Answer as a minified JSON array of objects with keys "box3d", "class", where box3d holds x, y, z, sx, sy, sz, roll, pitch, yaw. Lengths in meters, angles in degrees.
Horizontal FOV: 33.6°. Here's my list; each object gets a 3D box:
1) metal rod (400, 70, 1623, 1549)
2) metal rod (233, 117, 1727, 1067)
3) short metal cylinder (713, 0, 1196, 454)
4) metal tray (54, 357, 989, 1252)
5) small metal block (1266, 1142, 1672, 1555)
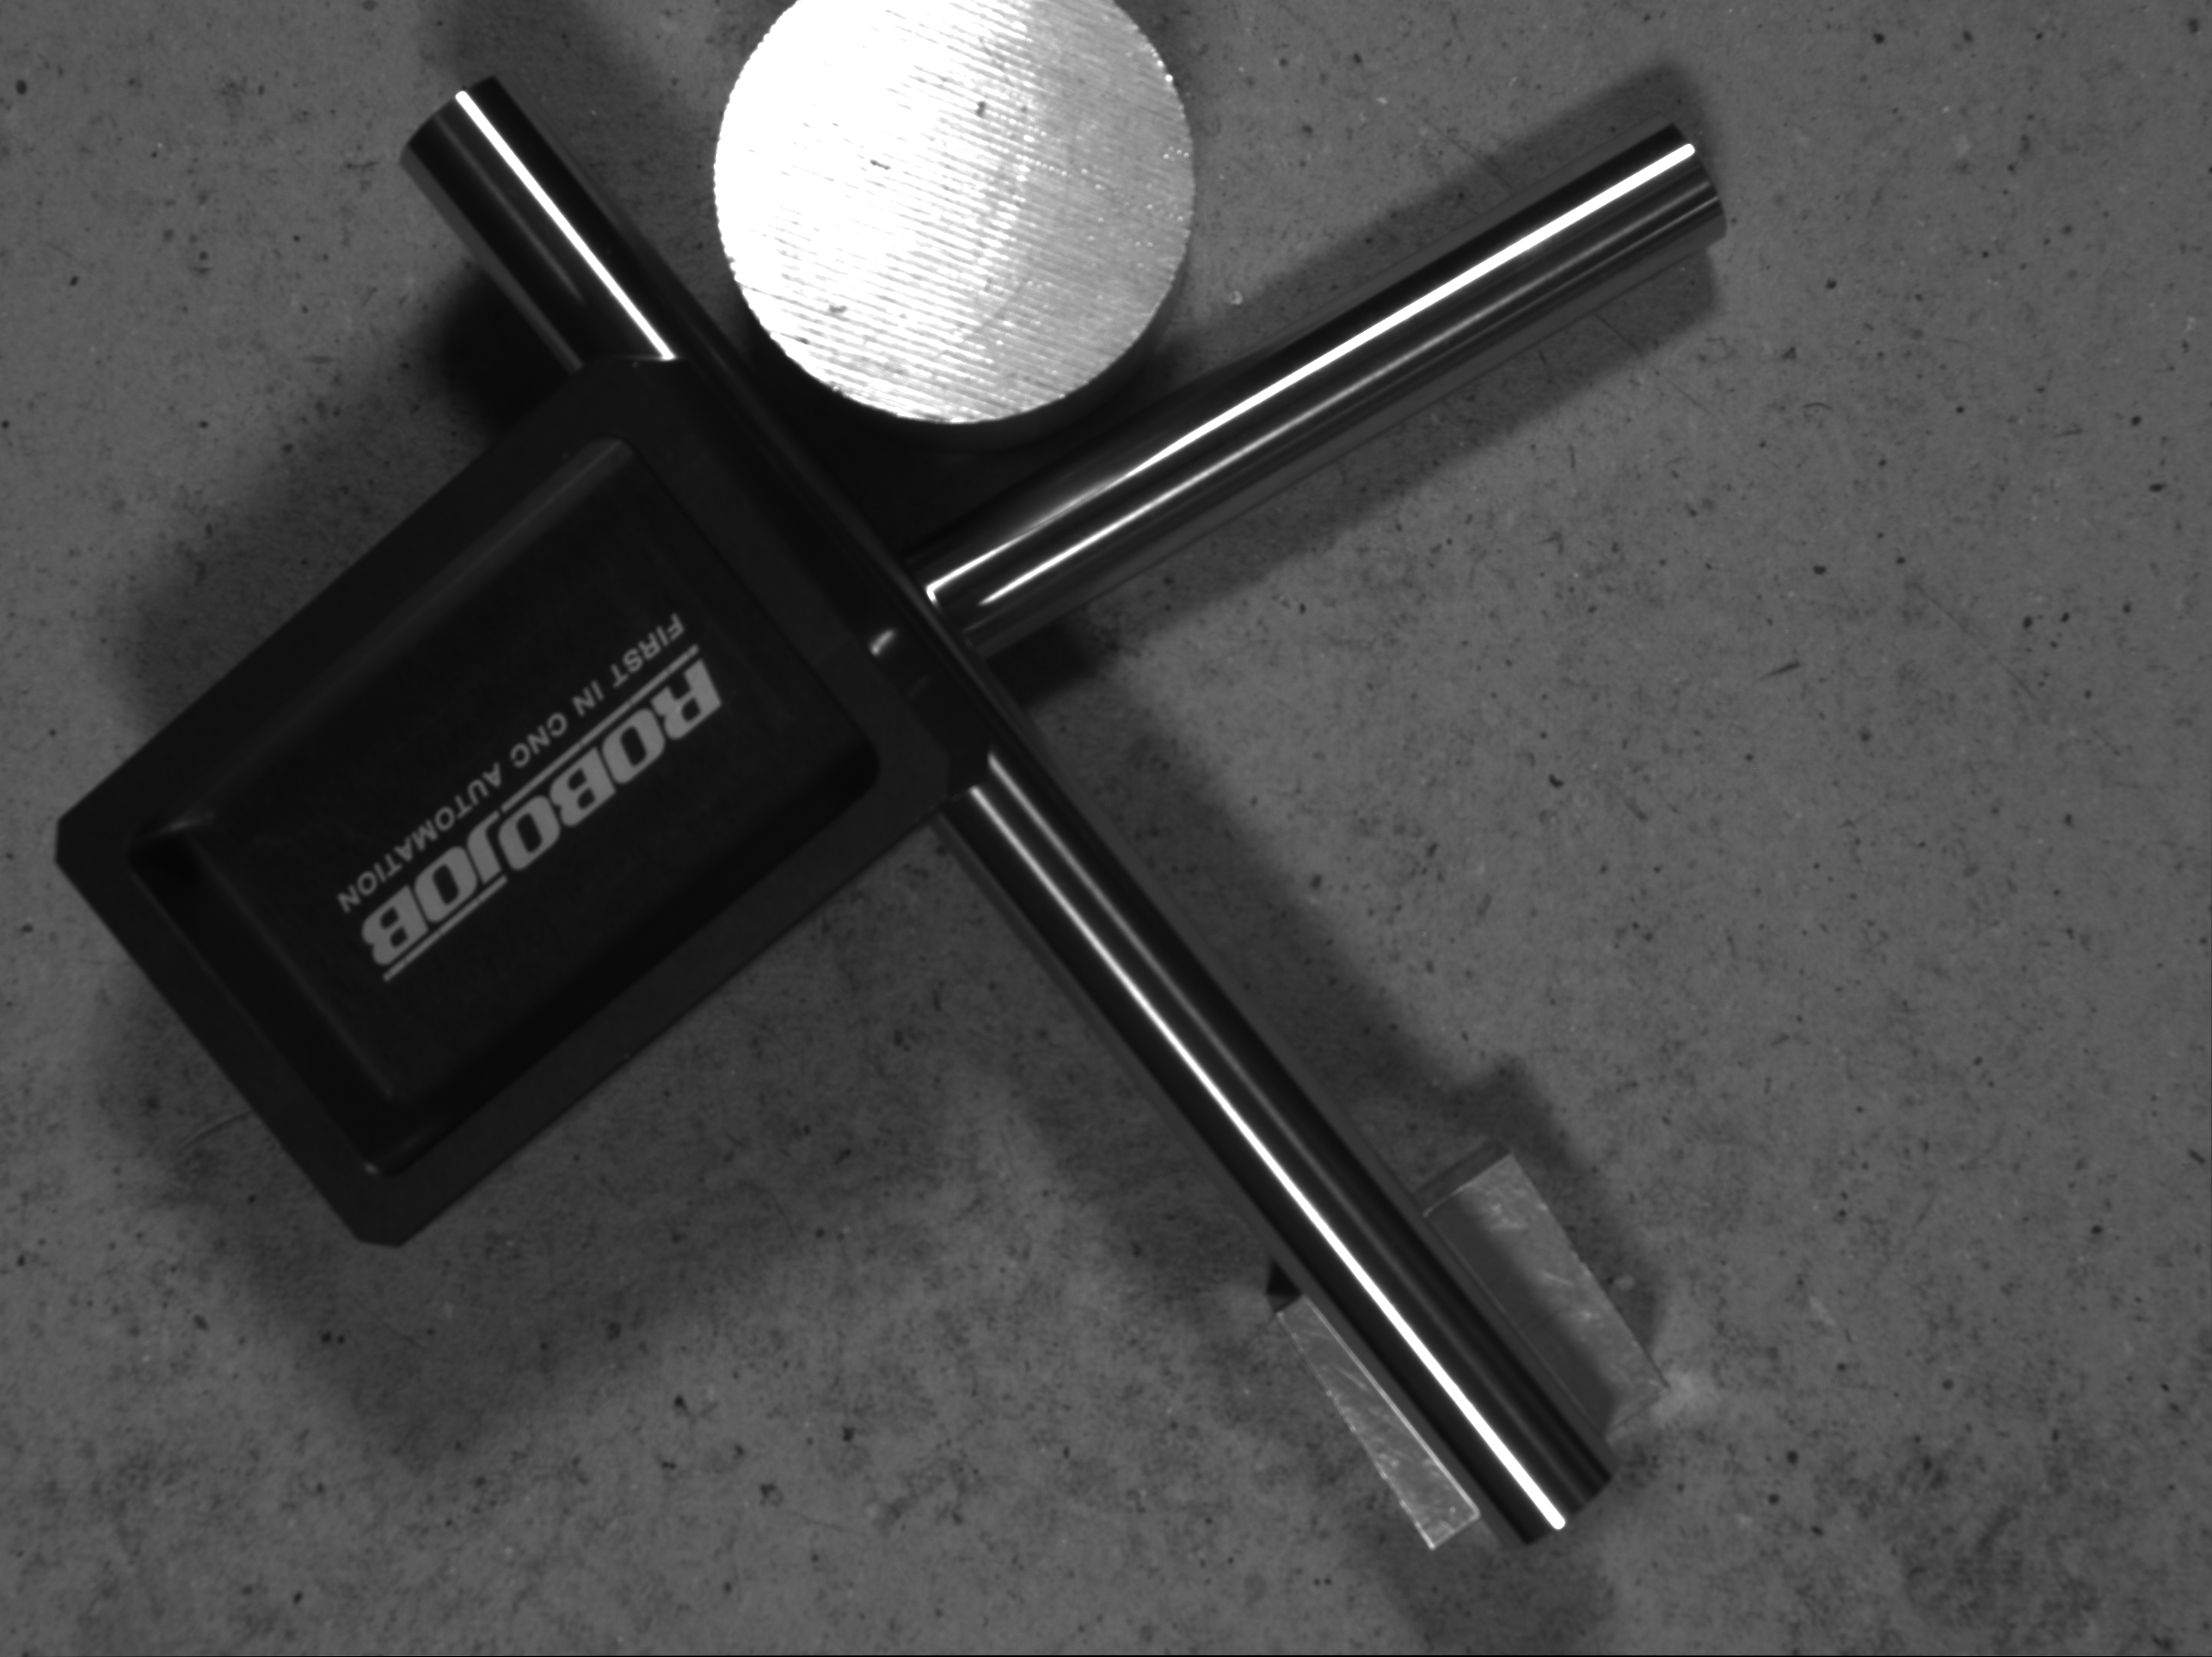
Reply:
[{"box3d":[-0.016,-0.003,0.621,0.025,0.025,0.300,-39,90,0],"class":"metal rod"},{"box3d":[-0.027,-0.040,0.645,0.300,0.025,0.025,-30,90,0],"class":"metal rod"},{"box3d":[-0.025,-0.107,0.632,0.080,0.050,0.080,0,90,0],"class":"short metal cylinder"},{"box3d":[-0.096,-0.004,0.603,0.130,0.030,0.090,-39,90,11],"class":"metal tray"},{"box3d":[0.063,0.091,0.645,0.050,0.025,0.050,-34,90,0],"class":"small metal block"}]
